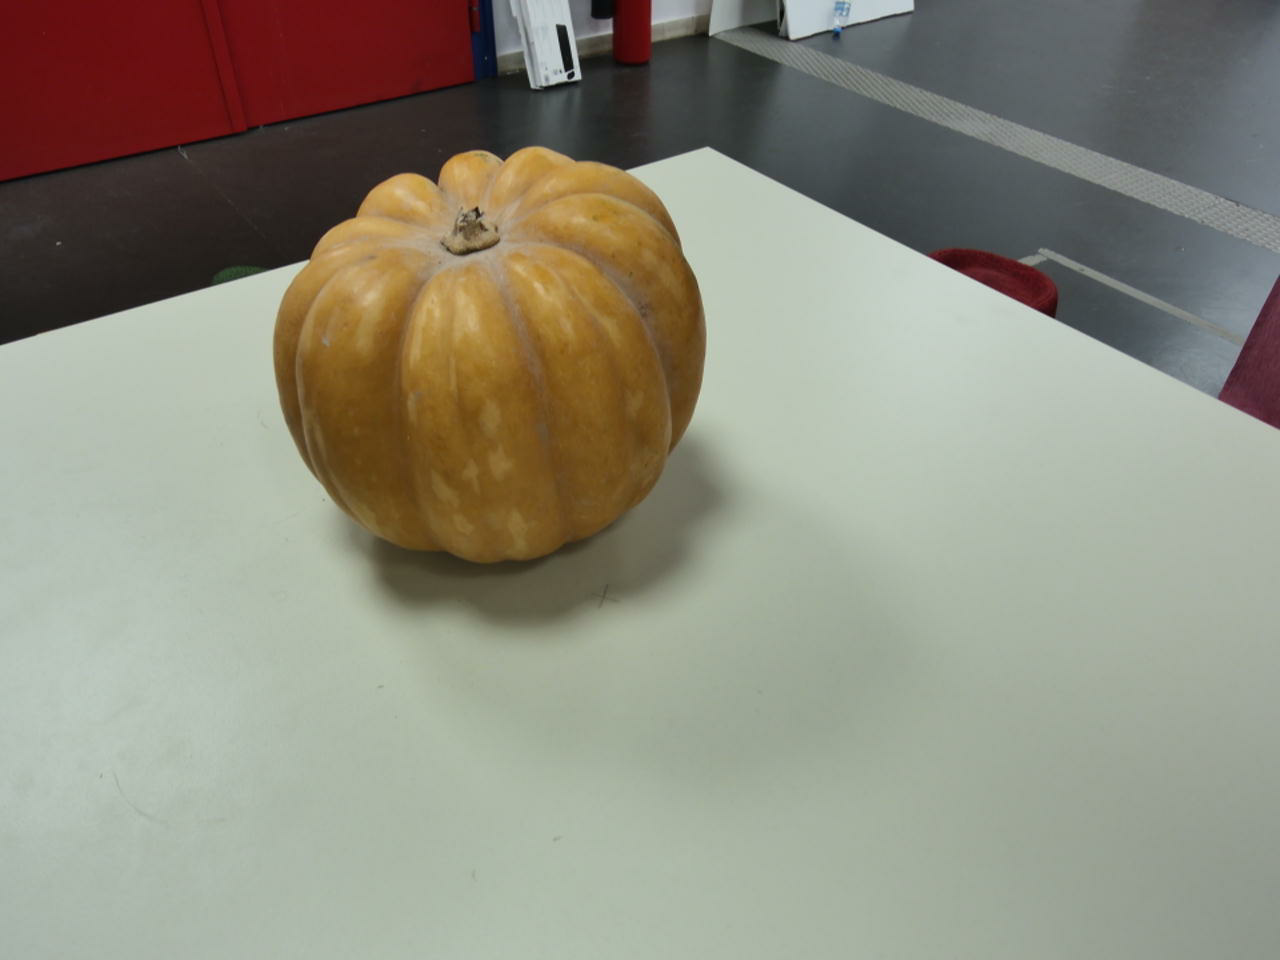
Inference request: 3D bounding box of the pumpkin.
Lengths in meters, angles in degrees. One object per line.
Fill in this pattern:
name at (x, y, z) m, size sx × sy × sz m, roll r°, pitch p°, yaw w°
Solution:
pumpkin at (-0.075, -0.065, 0.537) m, size 0.230 × 0.194 × 0.230 m, roll 0°, pitch 39°, yaw 0°
